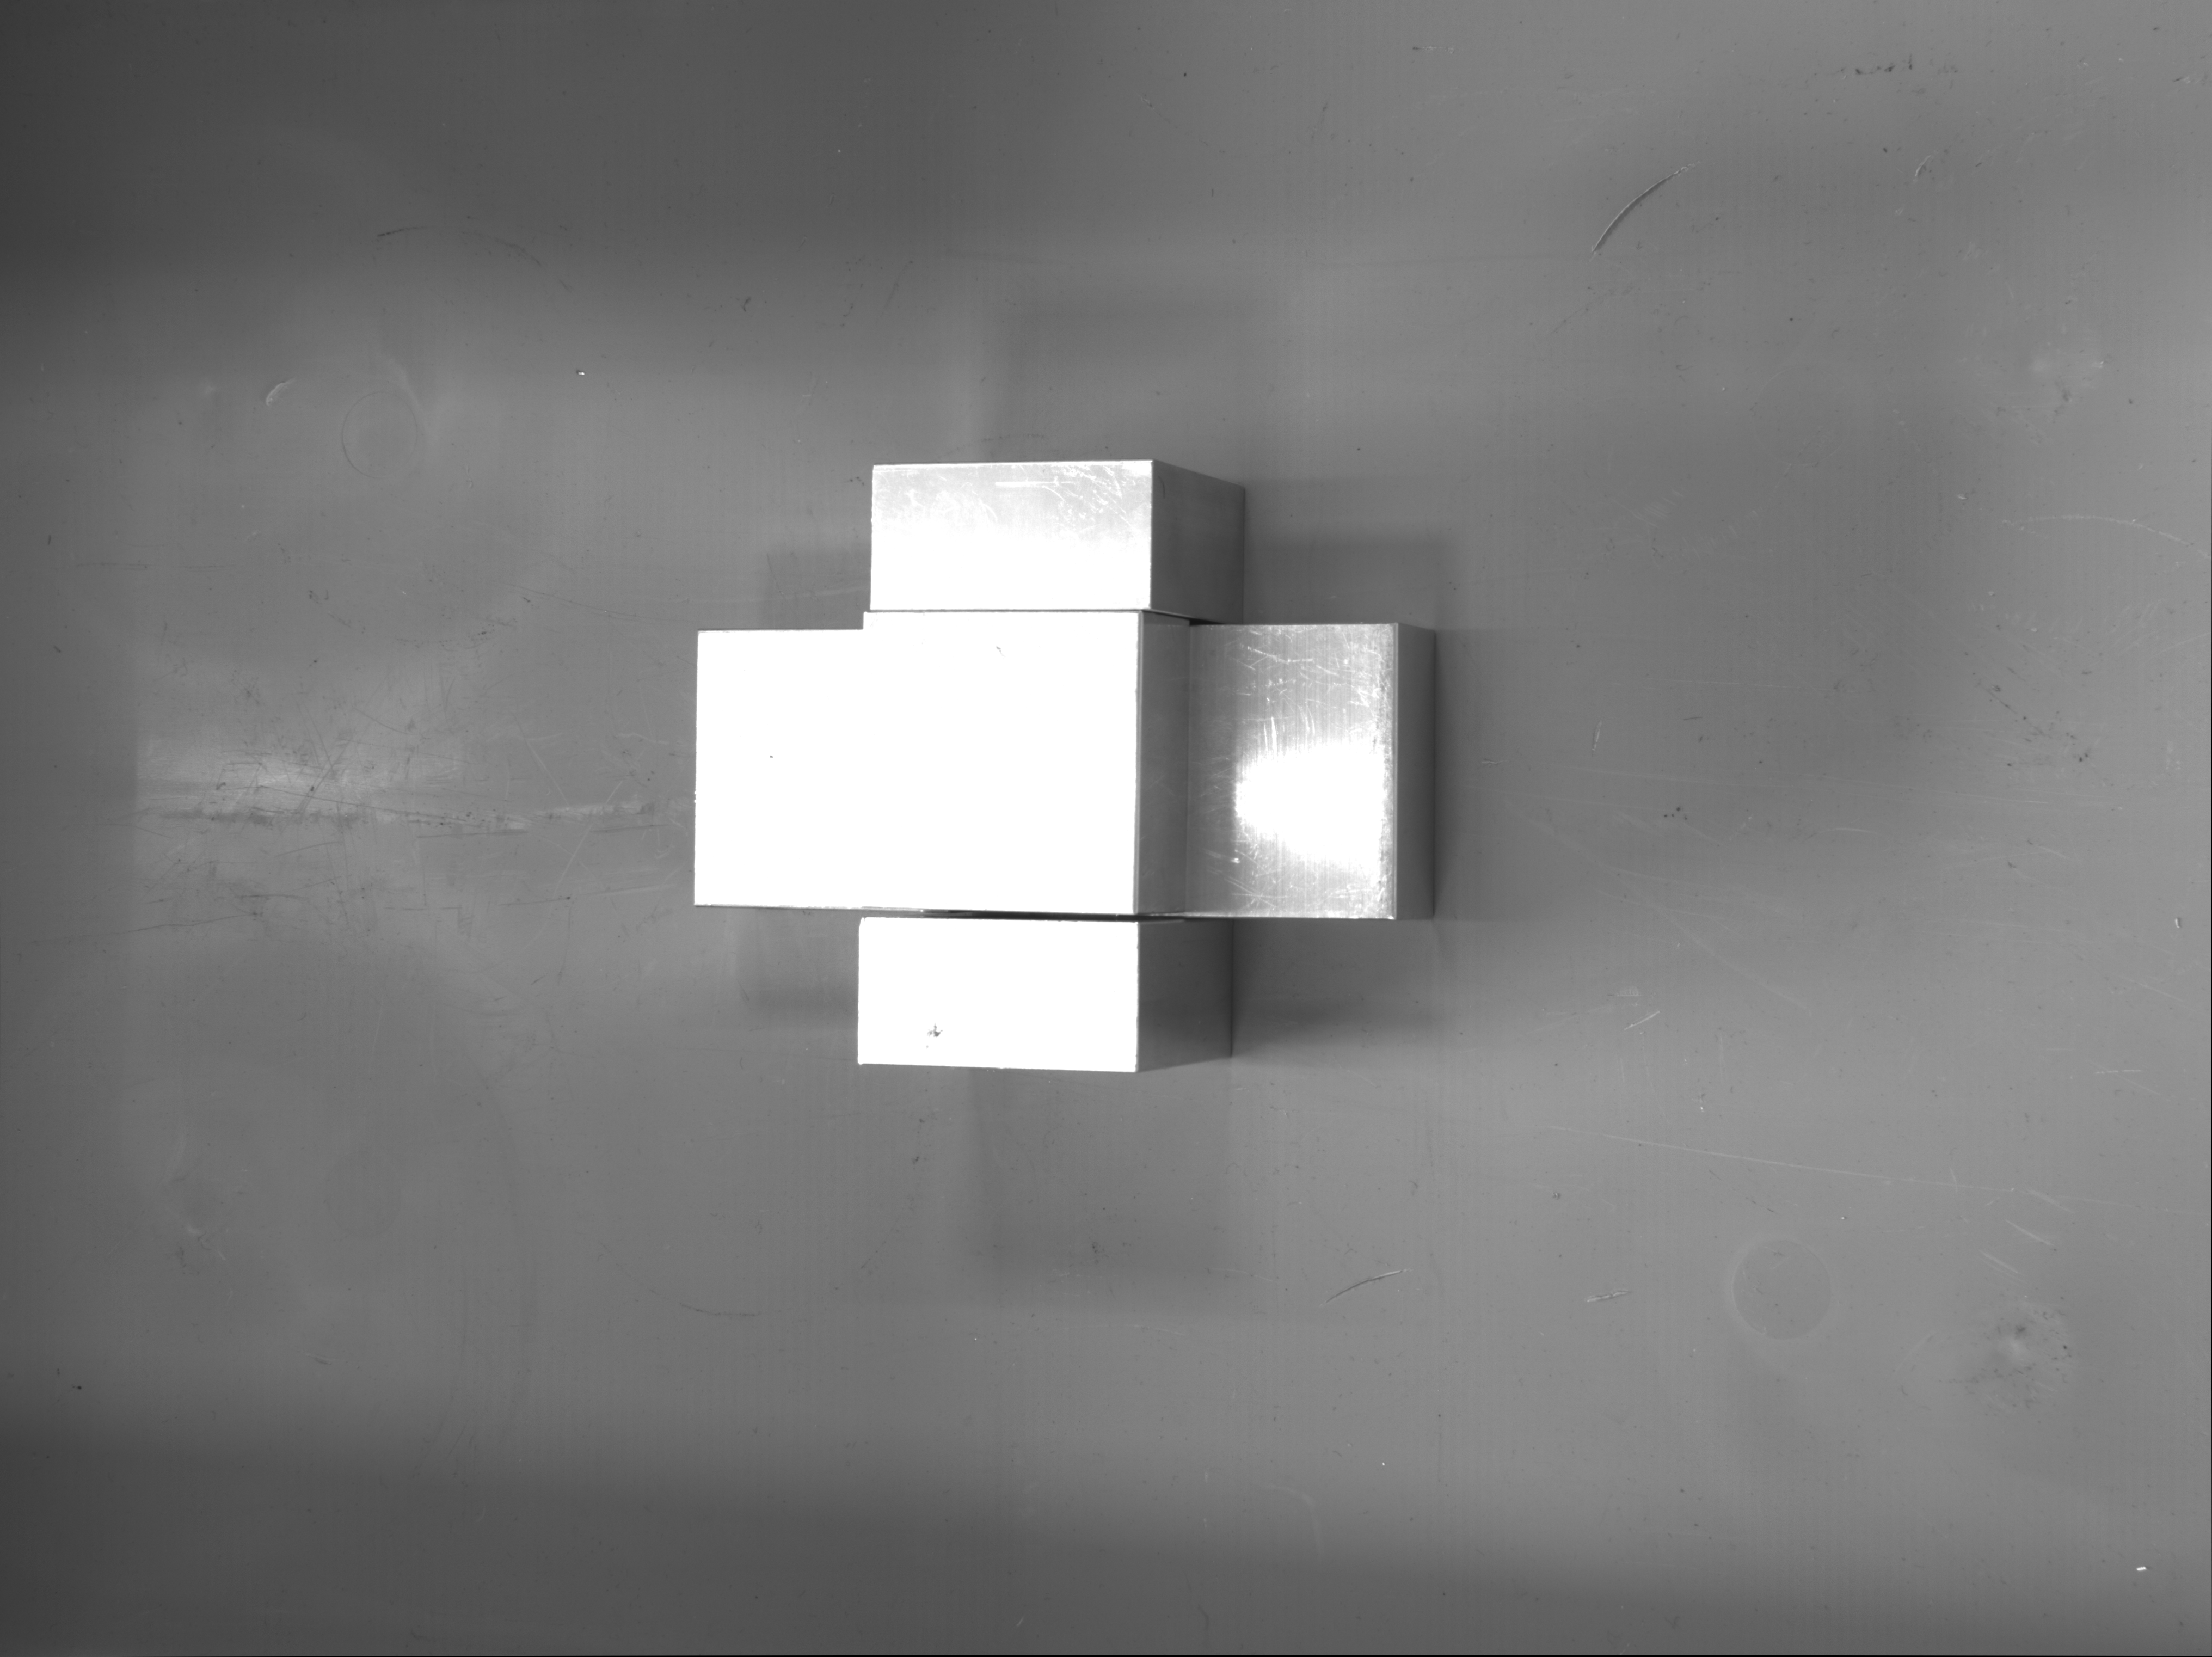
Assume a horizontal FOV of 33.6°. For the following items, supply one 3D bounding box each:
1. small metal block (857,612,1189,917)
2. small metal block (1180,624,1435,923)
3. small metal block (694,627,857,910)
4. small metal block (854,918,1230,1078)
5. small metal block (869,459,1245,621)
[{"bbox_3d":[-0.014,-0.011,0.622,0.050,0.025,0.050,1,90,20],"label":"small metal block"},{"bbox_3d":[0.029,-0.009,0.634,0.050,0.025,0.050,1,90,20],"label":"small metal block"},{"bbox_3d":[-0.046,-0.011,0.661,0.050,0.025,0.050,1,90,20],"label":"small metal block"},{"bbox_3d":[-0.010,0.028,0.634,0.050,0.050,0.025,1,90,20],"label":"small metal block"},{"bbox_3d":[-0.008,-0.048,0.634,0.050,0.050,0.025,1,90,20],"label":"small metal block"}]
